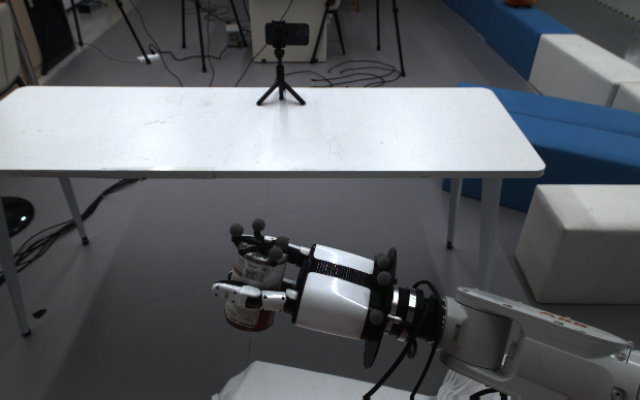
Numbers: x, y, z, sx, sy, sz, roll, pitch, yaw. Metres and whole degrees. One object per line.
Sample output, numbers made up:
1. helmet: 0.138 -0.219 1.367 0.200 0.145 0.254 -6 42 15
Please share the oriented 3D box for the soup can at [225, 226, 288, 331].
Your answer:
1. soup can: -0.082 0.111 0.630 0.067 0.101 0.067 13 18 -4
